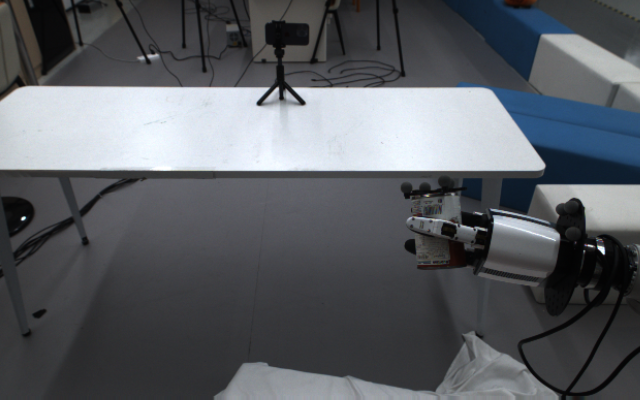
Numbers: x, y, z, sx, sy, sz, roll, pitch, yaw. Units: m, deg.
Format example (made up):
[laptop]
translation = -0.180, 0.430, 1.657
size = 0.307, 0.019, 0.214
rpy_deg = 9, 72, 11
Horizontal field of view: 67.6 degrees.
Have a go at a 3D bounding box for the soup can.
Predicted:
[soup can]
translation = 0.167, 0.043, 0.677
size = 0.067, 0.101, 0.067
rpy_deg = -5, -5, 0
